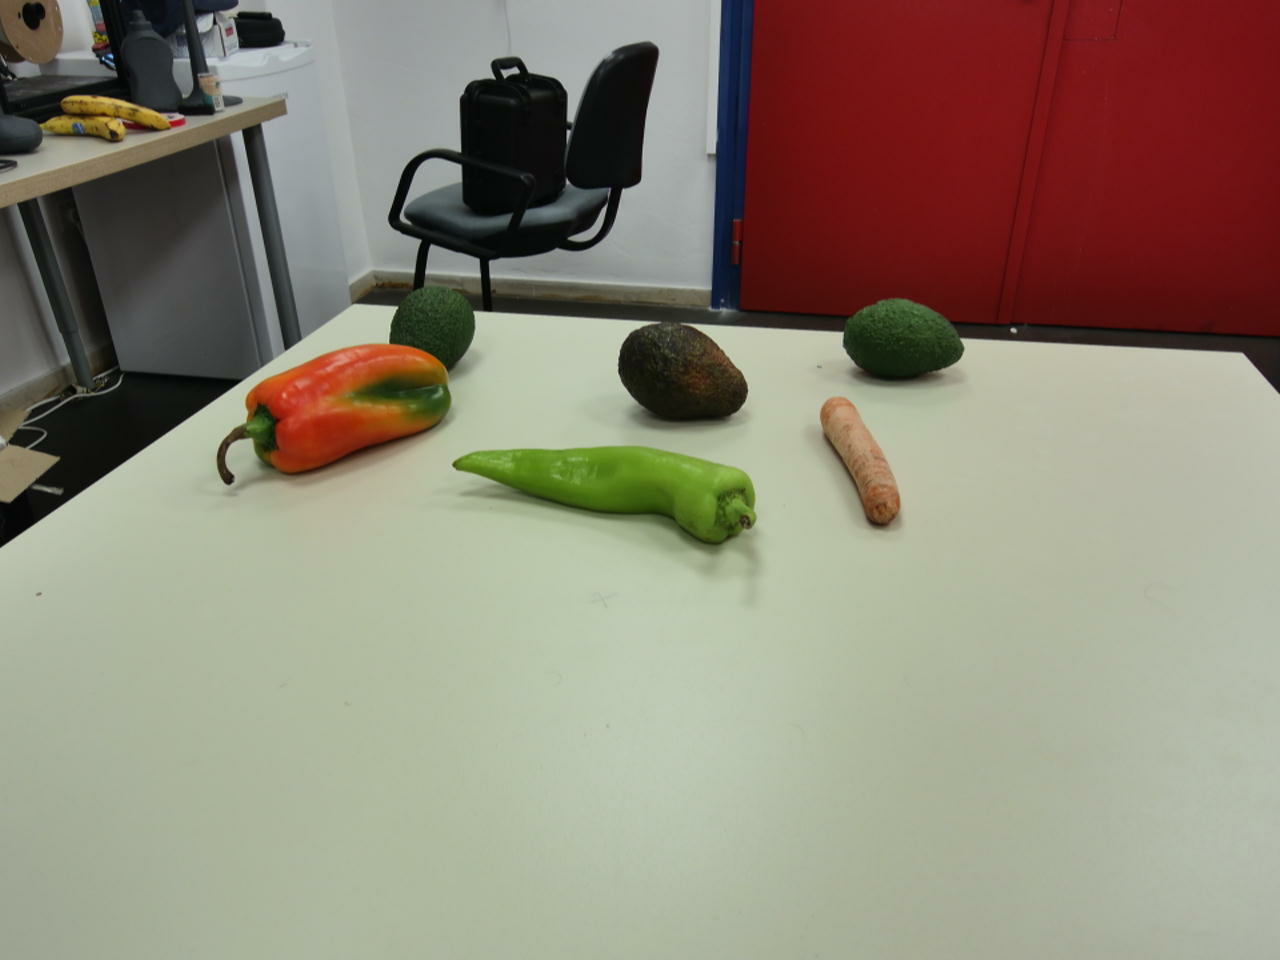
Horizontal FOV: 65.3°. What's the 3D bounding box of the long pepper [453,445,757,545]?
[{"bbox_3d":[-0.014,0.000,0.612,0.205,0.045,0.065,14,29,25],"label":"long pepper"}]
